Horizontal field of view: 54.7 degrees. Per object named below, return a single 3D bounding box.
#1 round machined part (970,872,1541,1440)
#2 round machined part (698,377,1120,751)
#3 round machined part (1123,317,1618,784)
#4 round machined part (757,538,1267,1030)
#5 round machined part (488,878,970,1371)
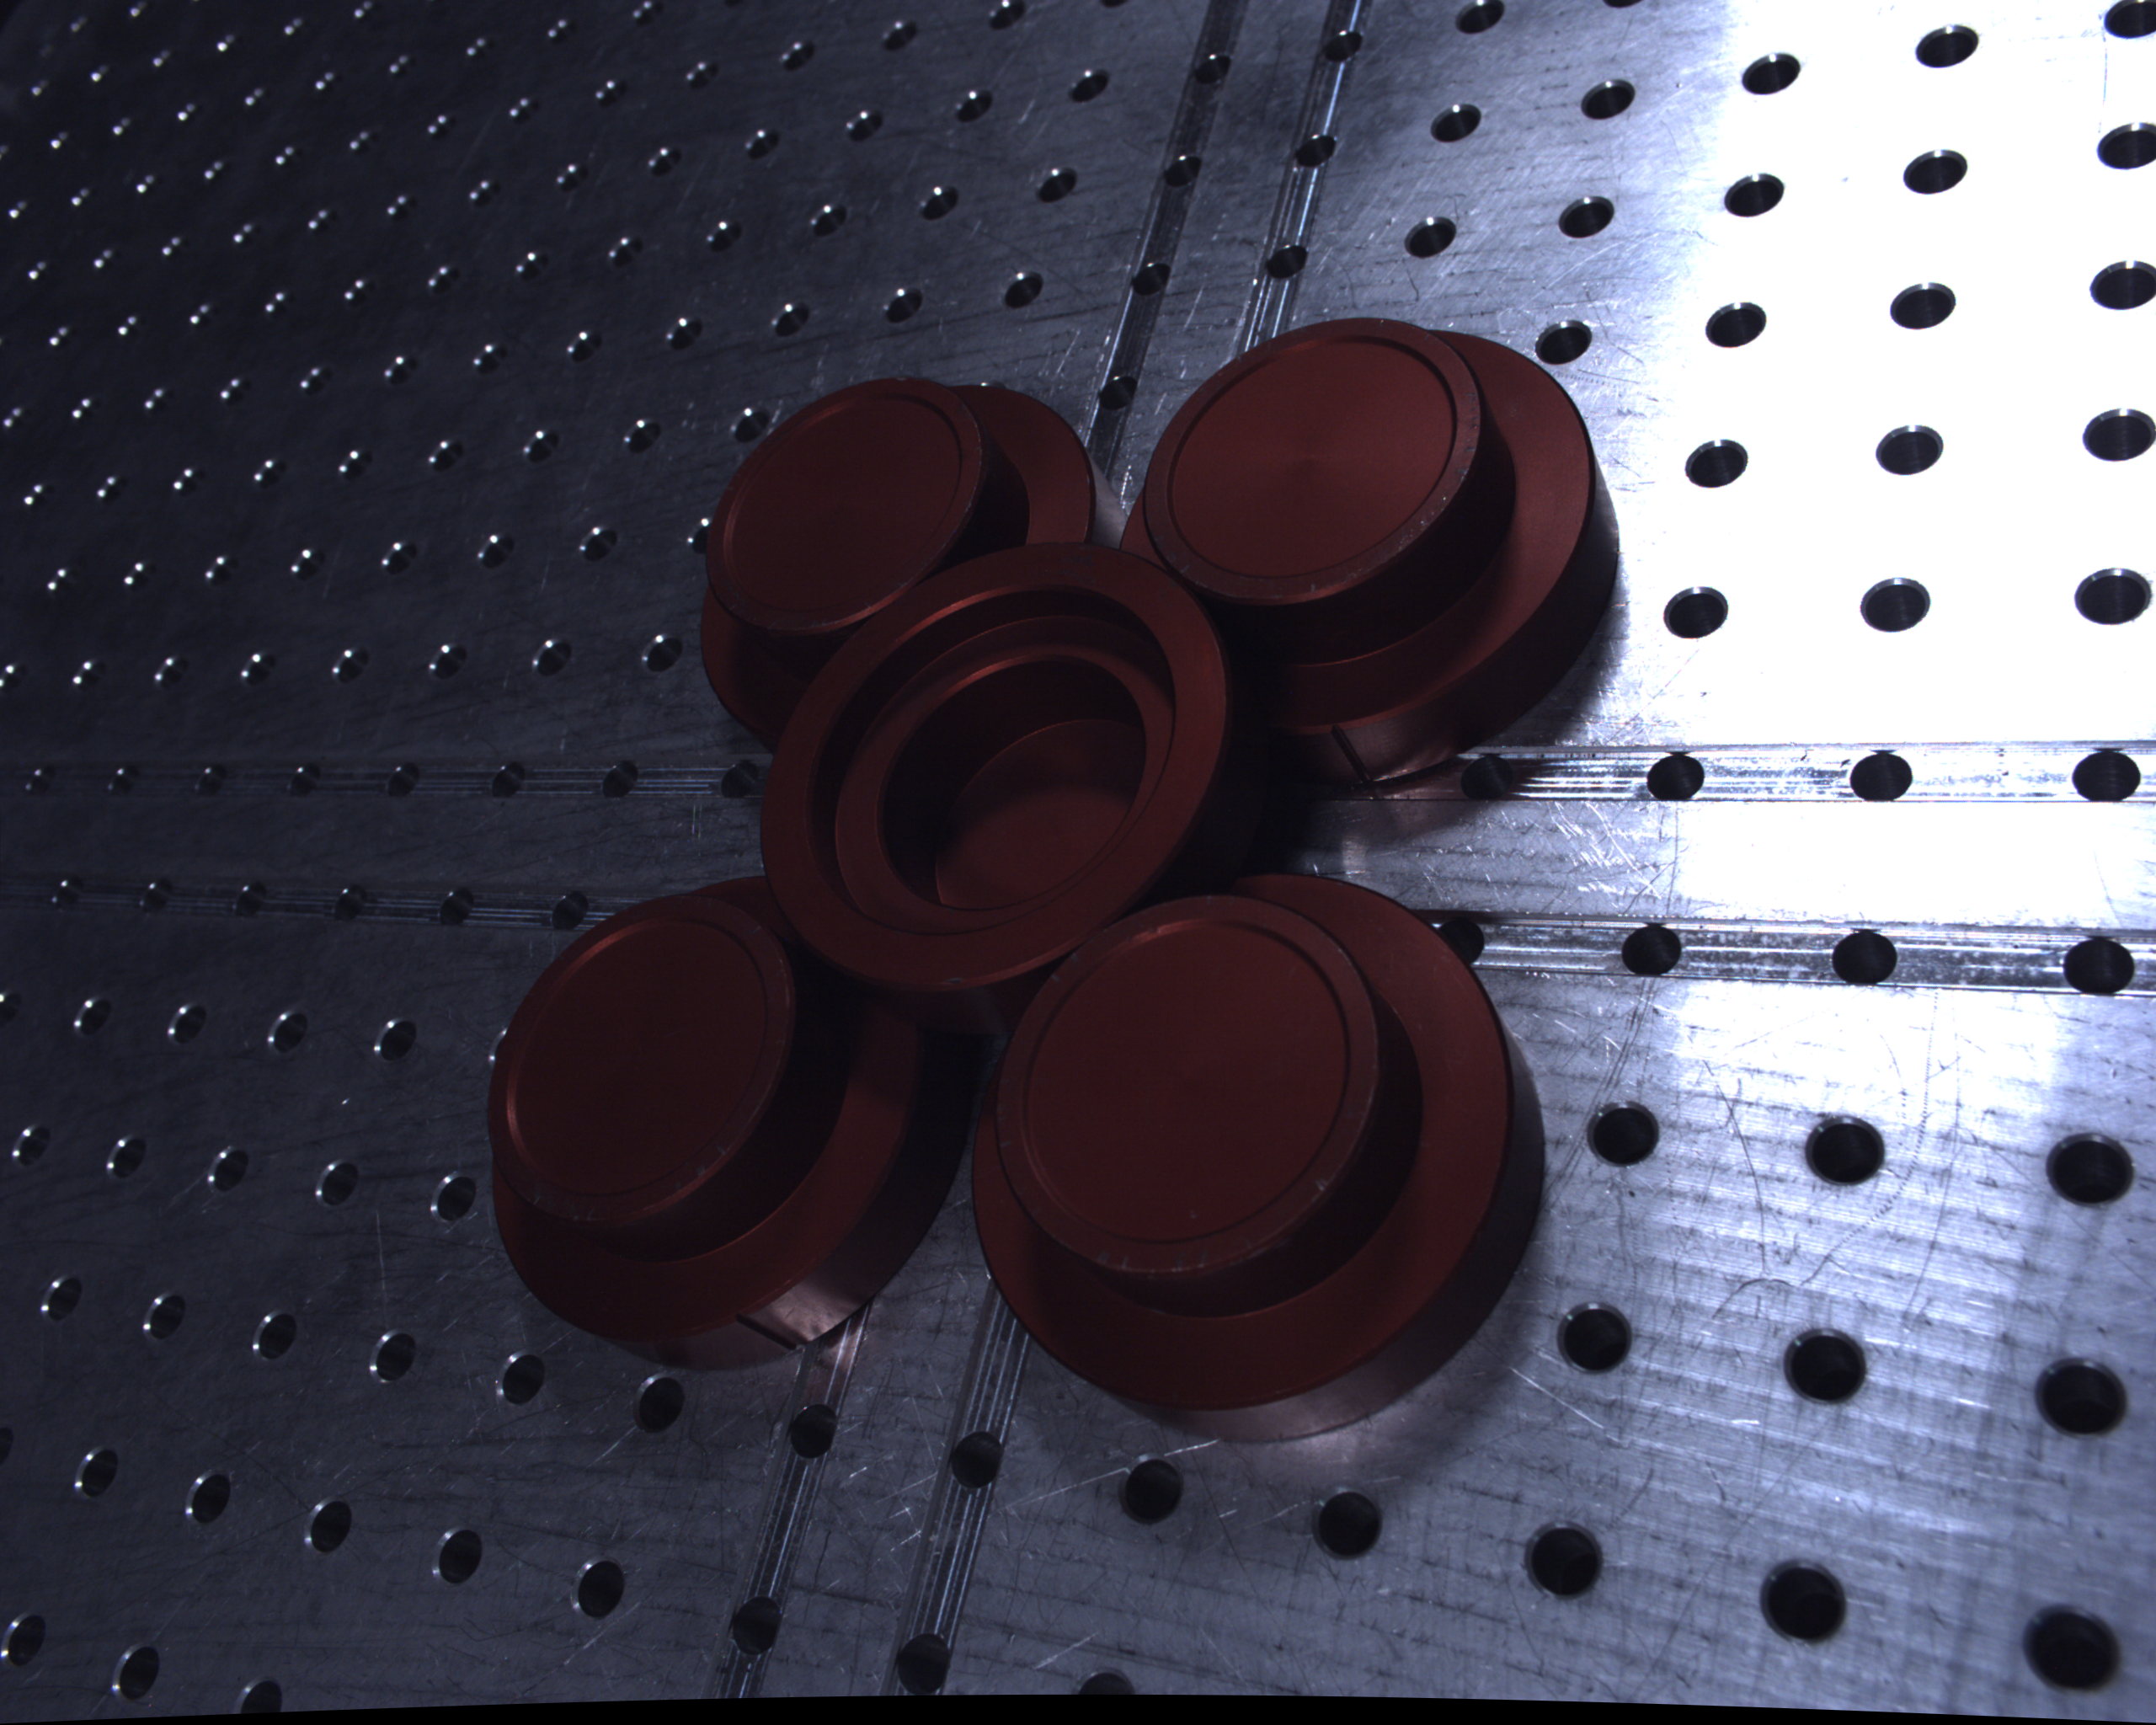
[{"bbox_3d":[0.025,0.044,0.355,0.098,0.042,0.098,-13,56,20],"label":"round machined part"},{"bbox_3d":[-0.042,-0.067,0.458,0.098,0.042,0.098,-13,56,20],"label":"round machined part"},{"bbox_3d":[0.052,-0.068,0.410,0.098,0.042,0.098,-13,56,20],"label":"round machined part"},{"bbox_3d":[-0.009,-0.012,0.406,0.098,0.042,0.098,-13,56,20],"label":"round machined part"},{"bbox_3d":[-0.074,0.046,0.407,0.098,0.042,0.098,-13,56,20],"label":"round machined part"}]
